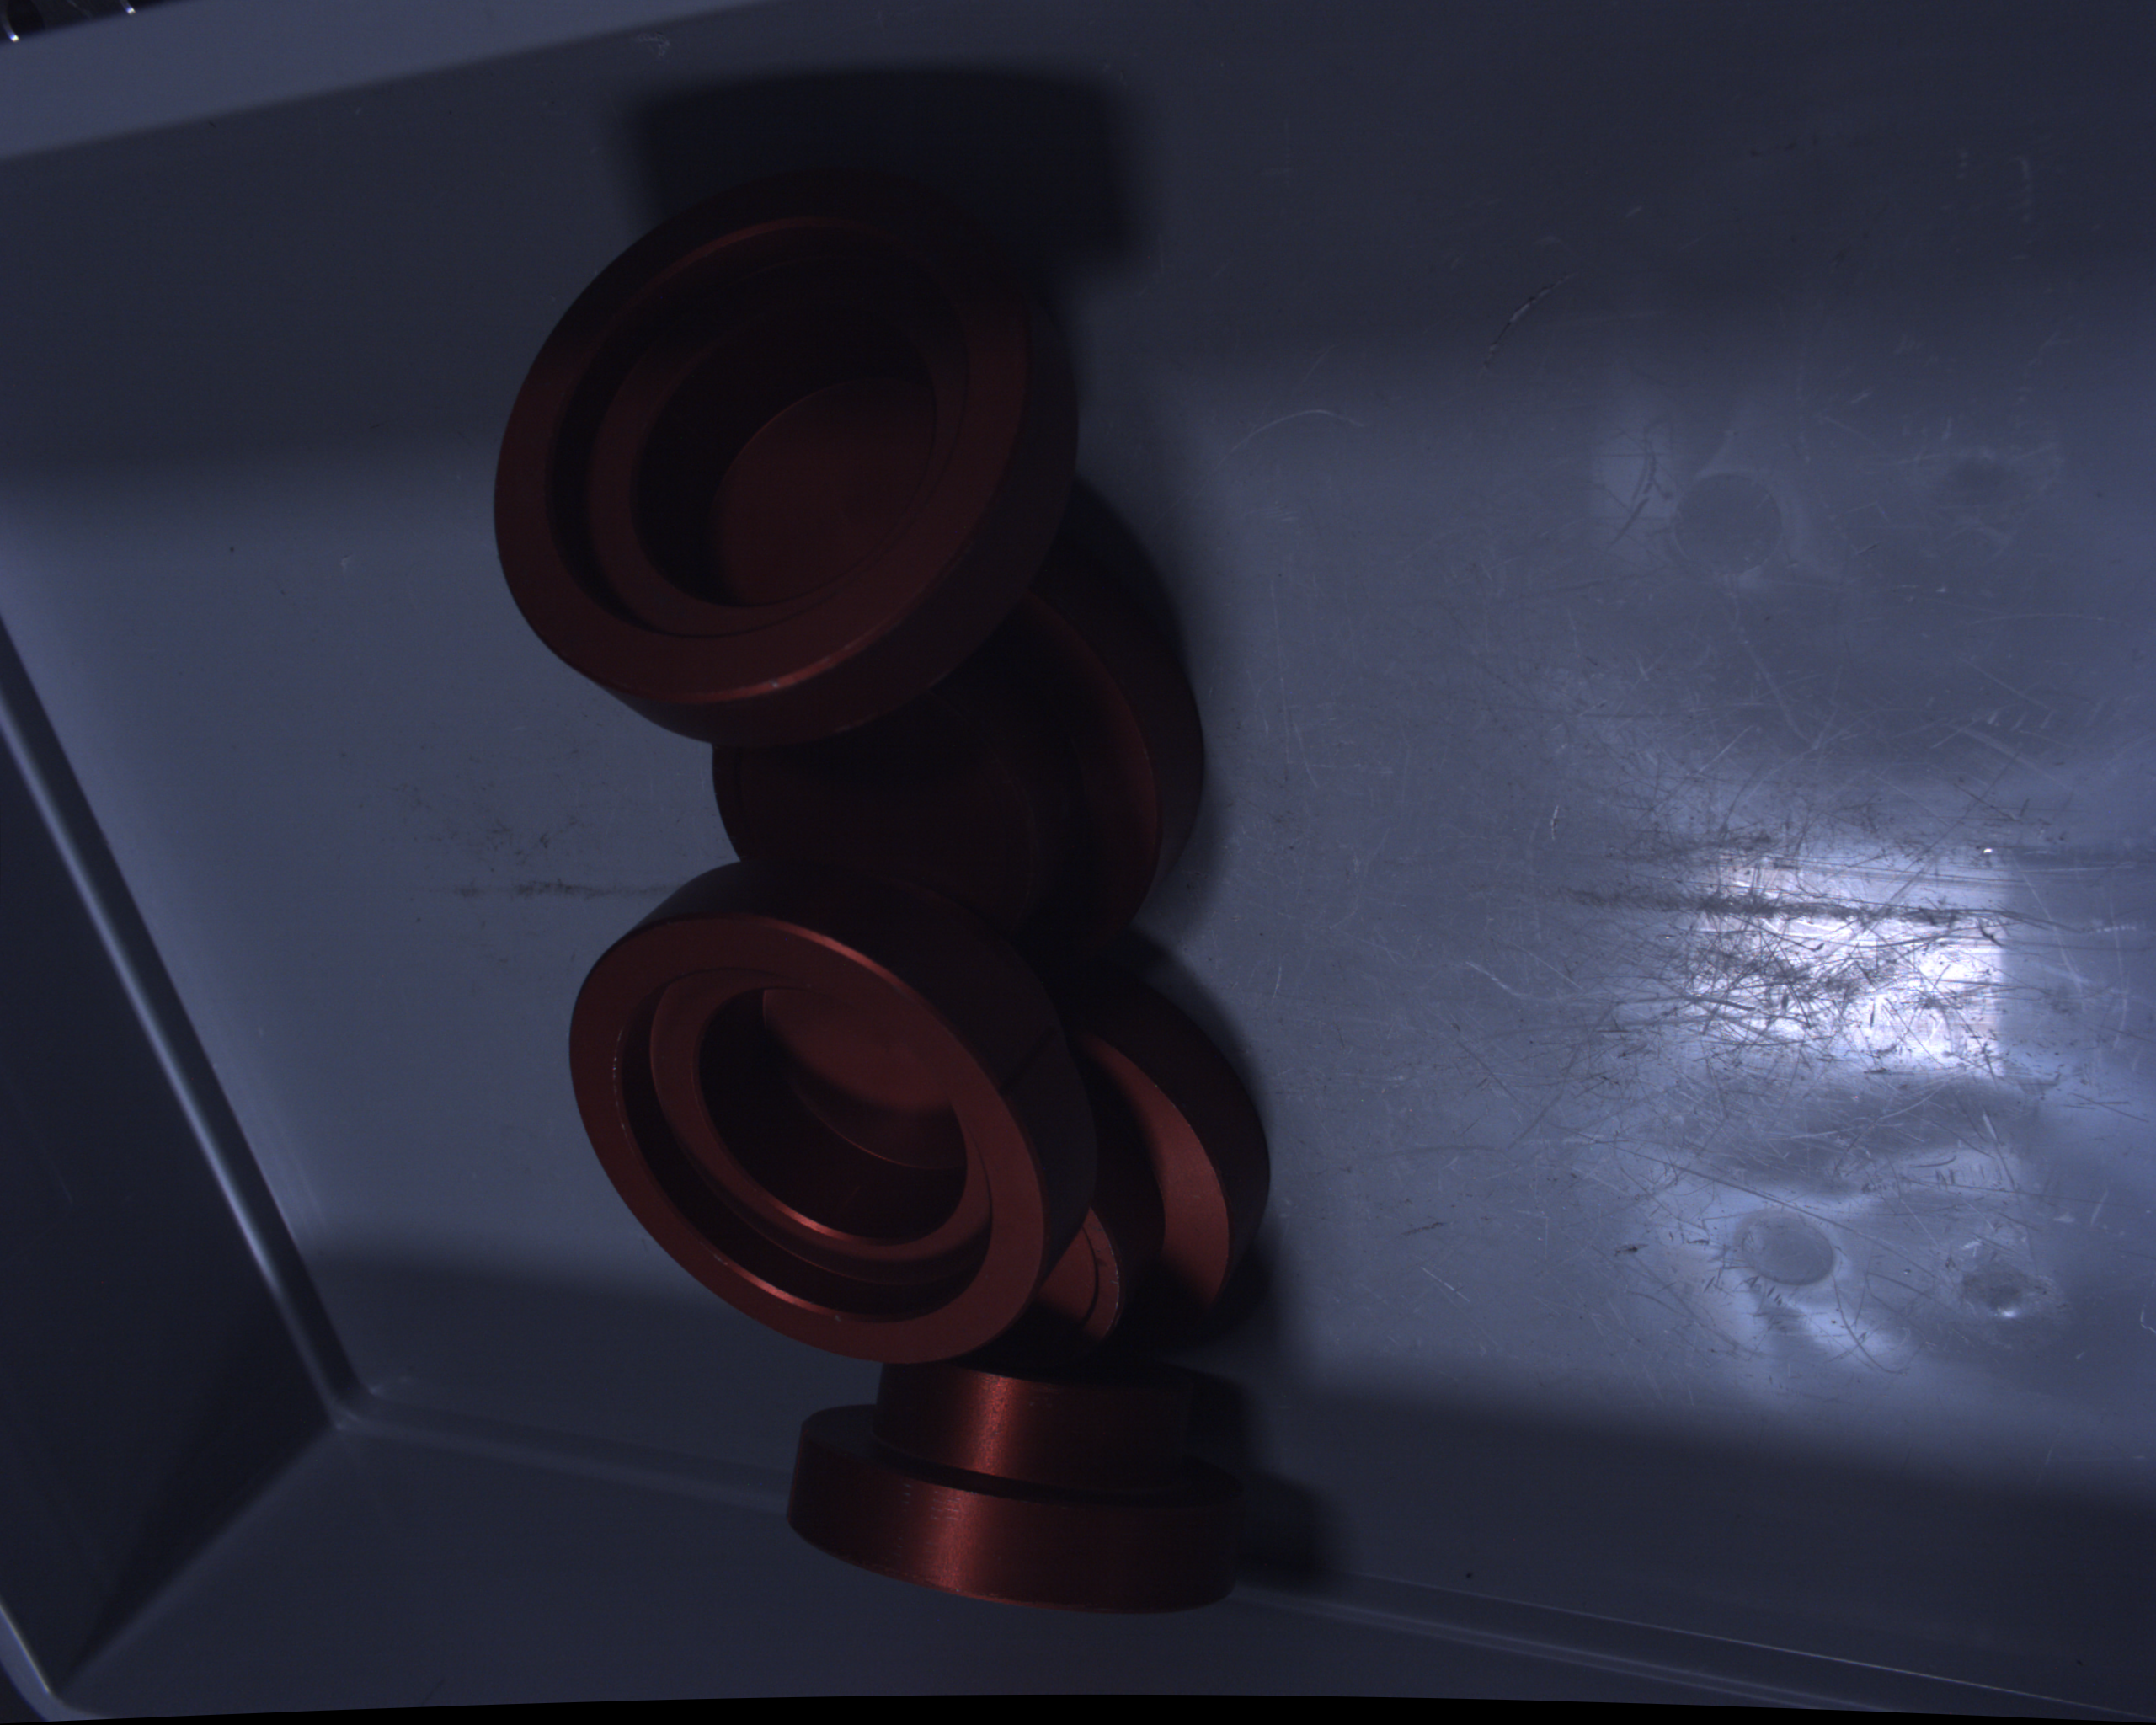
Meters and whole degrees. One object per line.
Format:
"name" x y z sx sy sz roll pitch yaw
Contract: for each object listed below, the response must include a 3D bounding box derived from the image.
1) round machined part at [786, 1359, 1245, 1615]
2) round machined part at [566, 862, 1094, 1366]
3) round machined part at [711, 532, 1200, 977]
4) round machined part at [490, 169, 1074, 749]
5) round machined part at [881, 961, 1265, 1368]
"round machined part" -0.012 0.129 0.457 0.098 0.098 0.042 6 84 24
"round machined part" -0.042 0.042 0.386 0.098 0.042 0.097 13 124 20
"round machined part" -0.030 -0.018 0.398 0.098 0.042 0.097 13 124 20
"round machined part" -0.046 -0.064 0.355 0.098 0.098 0.042 7 164 24
"round machined part" -0.013 0.068 0.442 0.098 0.042 0.097 13 124 20
